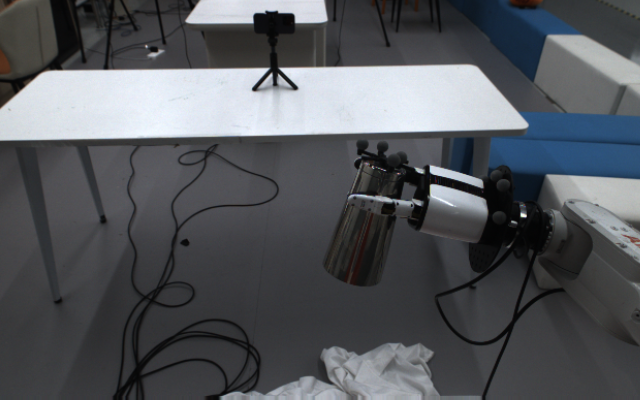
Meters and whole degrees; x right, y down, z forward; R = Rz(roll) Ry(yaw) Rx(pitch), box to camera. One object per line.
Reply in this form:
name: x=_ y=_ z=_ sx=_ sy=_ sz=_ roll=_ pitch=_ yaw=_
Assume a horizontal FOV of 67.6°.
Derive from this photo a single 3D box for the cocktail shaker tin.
cocktail shaker tin: x=0.071 y=0.025 z=0.710 sx=0.093 sy=0.170 sz=0.093 roll=14 pitch=18 yaw=-5
